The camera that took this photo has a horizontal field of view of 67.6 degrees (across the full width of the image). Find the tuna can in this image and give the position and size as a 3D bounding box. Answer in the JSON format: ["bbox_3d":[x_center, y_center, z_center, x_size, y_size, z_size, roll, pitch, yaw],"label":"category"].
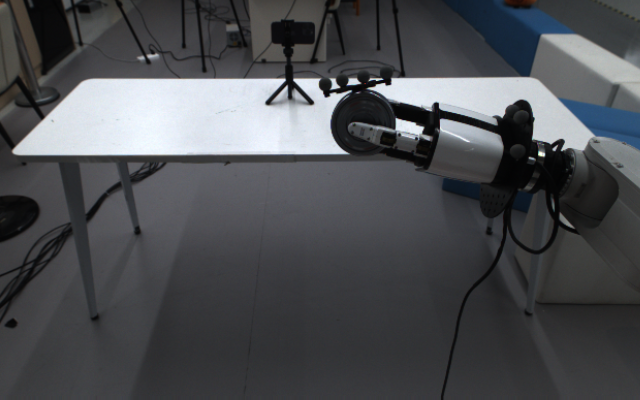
[{"bbox_3d":[0.061,-0.096,0.637,0.085,0.085,0.034,6,18,5],"label":"tuna can"}]
